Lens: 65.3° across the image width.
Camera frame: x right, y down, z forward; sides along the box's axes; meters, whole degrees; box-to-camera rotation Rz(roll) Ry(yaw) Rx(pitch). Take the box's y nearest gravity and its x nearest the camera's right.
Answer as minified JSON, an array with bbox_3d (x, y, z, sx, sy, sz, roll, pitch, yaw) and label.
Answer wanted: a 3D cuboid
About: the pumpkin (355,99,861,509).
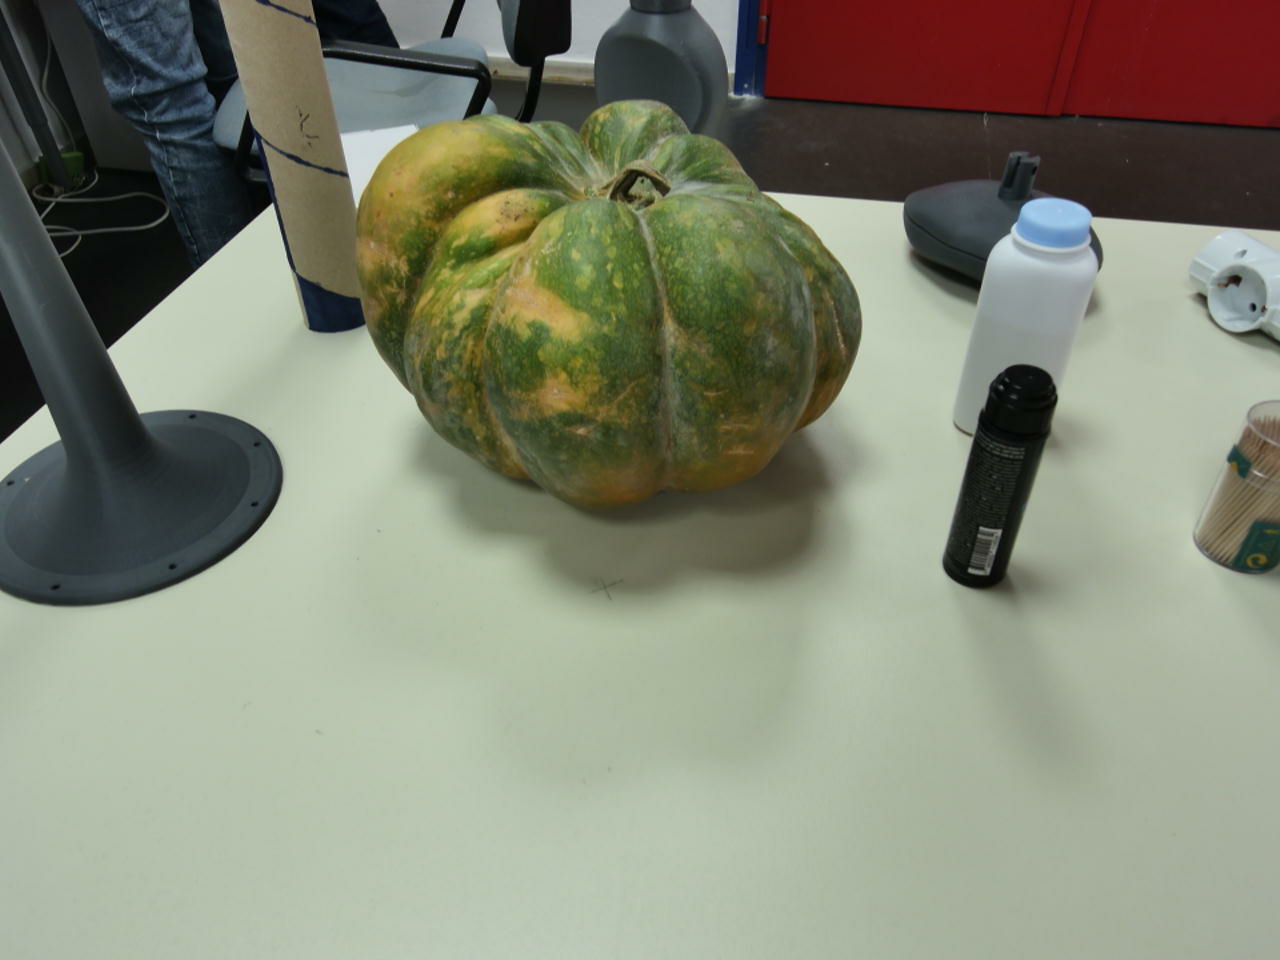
[{"bbox_3d":[-0.015,-0.099,0.522,0.237,0.173,0.270,-28,46,-30],"label":"pumpkin"}]
